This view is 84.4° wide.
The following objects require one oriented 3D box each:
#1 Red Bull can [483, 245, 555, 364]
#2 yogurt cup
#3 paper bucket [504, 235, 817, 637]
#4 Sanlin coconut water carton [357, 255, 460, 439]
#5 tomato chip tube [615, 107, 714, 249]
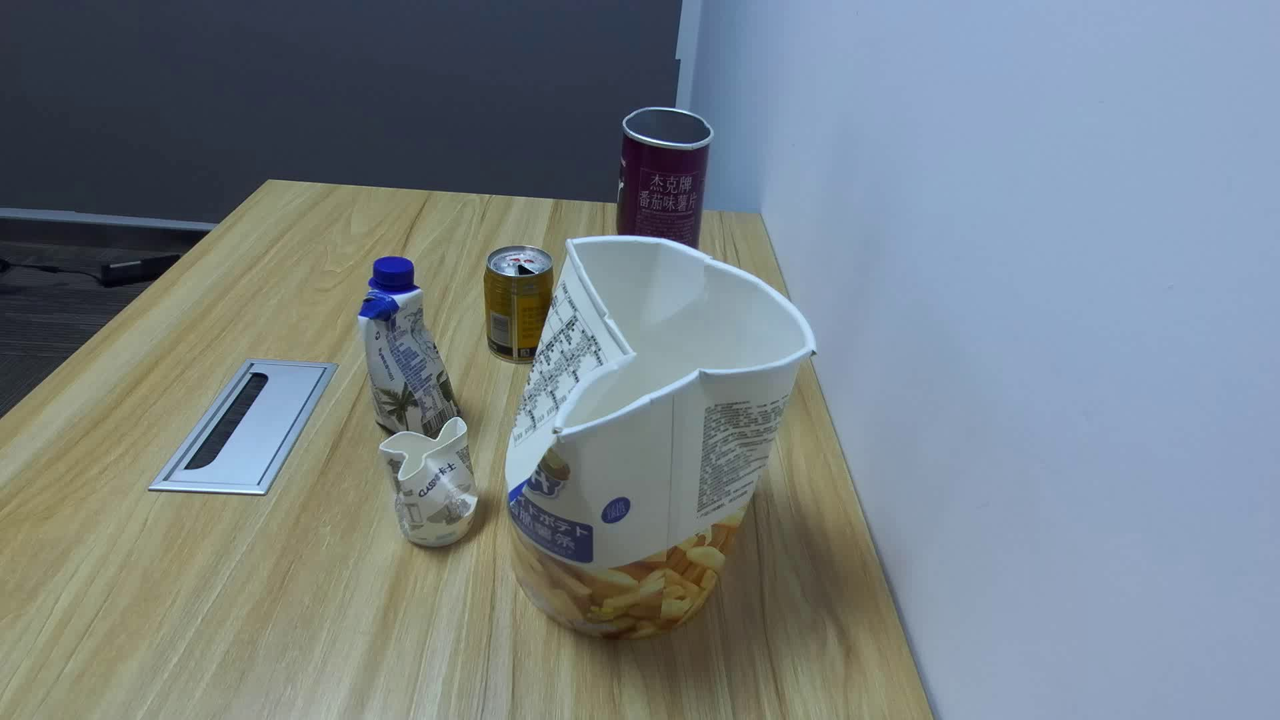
[{"bbox_3d":[-0.108,-0.050,0.653,0.068,0.093,0.068,4,29,-2],"label":"Red Bull can"},{"bbox_3d":[-0.143,0.084,0.488,0.055,0.072,0.055,-17,39,-26],"label":"yogurt cup"},{"bbox_3d":[-0.012,0.046,0.445,0.170,0.202,0.162,-14,40,-28],"label":"paper bucket"},{"bbox_3d":[-0.192,-0.006,0.548,0.056,0.145,0.068,18,44,28],"label":"Sanlin coconut water carton"},{"bbox_3d":[0.013,-0.080,0.591,0.076,0.234,0.080,23,40,22],"label":"tomato chip tube"}]
